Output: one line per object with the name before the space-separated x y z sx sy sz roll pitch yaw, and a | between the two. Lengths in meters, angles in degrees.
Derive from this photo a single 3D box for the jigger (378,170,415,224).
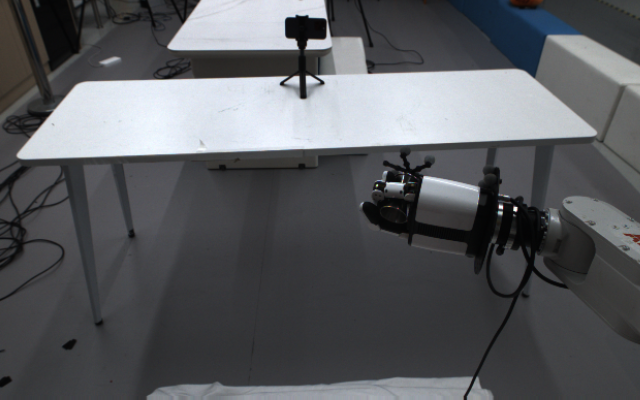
jigger | 0.123 -0.008 0.740 0.043 0.043 0.071 15 58 18
